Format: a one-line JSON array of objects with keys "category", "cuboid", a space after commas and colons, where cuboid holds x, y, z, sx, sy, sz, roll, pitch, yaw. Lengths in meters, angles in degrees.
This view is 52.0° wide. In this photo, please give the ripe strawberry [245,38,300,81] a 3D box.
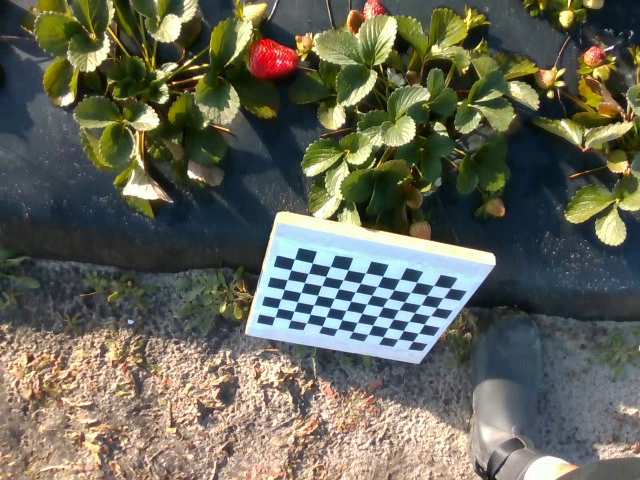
[{"category": "ripe strawberry", "cuboid": [-0.054, -0.215, 0.770, 0.072, 0.055, 0.057, 3, -37, 15]}]
